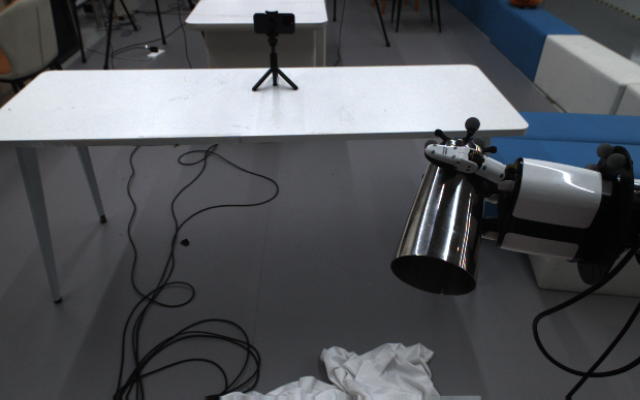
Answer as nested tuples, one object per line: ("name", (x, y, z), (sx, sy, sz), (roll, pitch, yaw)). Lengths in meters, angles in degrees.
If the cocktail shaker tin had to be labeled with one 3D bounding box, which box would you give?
("cocktail shaker tin", (0.148, 0.010, 0.566), (0.093, 0.093, 0.170), (13, 59, 16))
